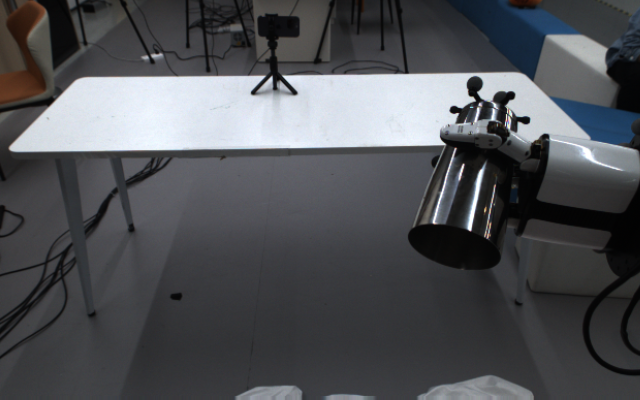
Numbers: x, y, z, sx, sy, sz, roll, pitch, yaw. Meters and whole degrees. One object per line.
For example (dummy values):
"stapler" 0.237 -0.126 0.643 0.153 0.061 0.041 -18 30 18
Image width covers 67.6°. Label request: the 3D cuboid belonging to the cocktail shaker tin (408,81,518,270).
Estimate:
"cocktail shaker tin" 0.163 -0.022 0.516 0.093 0.093 0.170 15 62 18
